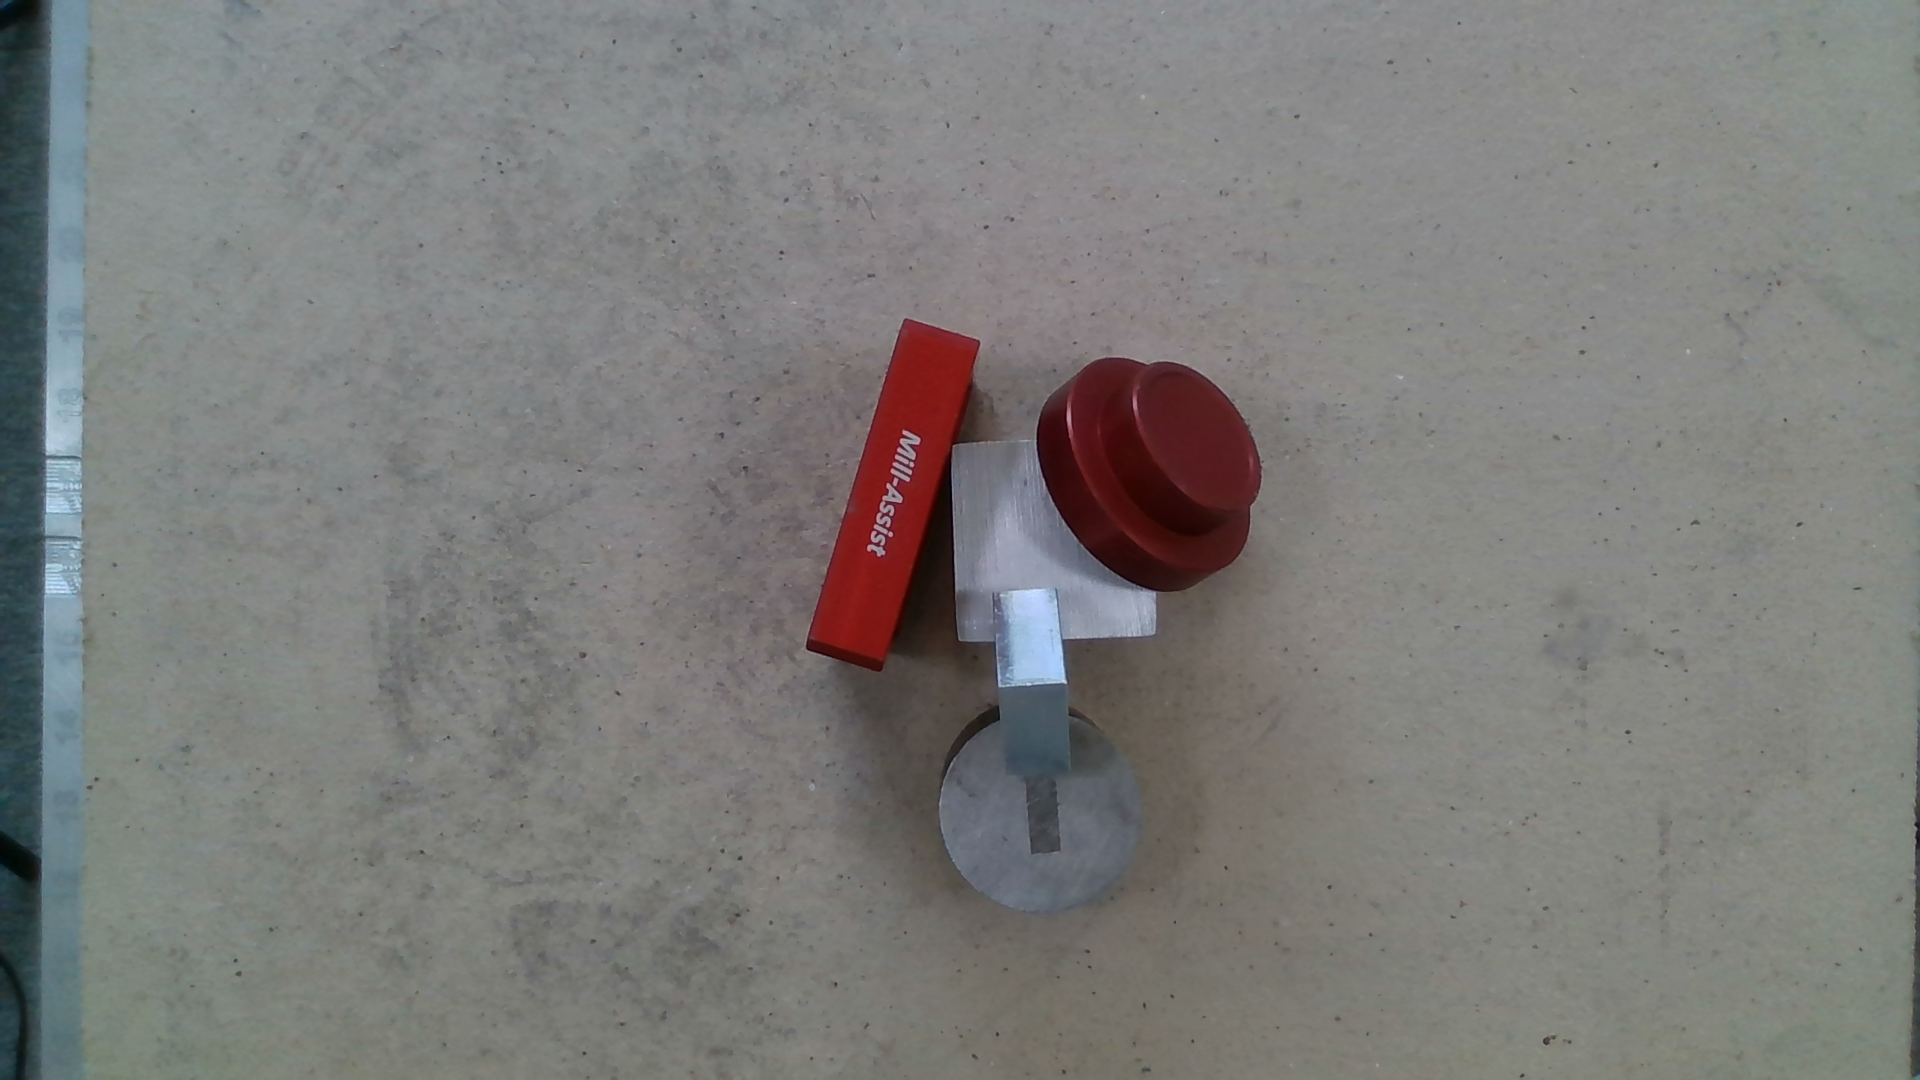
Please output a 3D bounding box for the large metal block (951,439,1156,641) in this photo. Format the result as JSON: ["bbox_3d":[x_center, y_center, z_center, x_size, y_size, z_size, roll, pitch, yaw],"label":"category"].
[{"bbox_3d":[0.037,-0.001,0.576,0.080,0.050,0.080,-2,90,0],"label":"large metal block"}]

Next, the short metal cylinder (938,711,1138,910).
[{"bbox_3d":[0.031,0.109,0.577,0.080,0.050,0.080,0,90,0],"label":"short metal cylinder"}]

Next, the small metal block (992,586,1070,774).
[{"bbox_3d":[0.027,0.054,0.530,0.025,0.050,0.050,-4,132,2],"label":"small metal block"}]

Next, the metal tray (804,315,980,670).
[{"bbox_3d":[-0.025,-0.018,0.554,0.030,0.090,0.130,17,90,0],"label":"metal tray"}]

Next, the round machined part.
[{"bbox_3d":[0.081,-0.033,0.550,0.098,0.098,0.042,53,134,0],"label":"round machined part"}]
